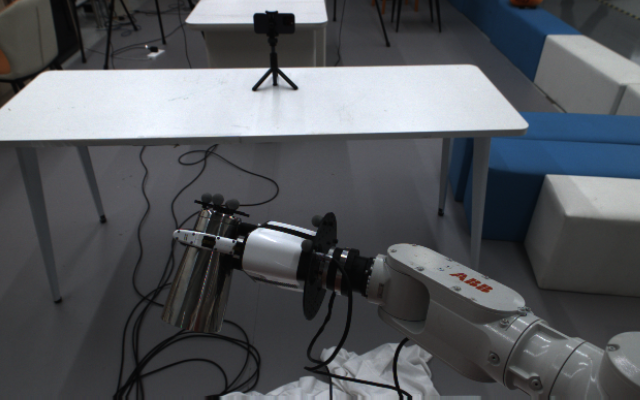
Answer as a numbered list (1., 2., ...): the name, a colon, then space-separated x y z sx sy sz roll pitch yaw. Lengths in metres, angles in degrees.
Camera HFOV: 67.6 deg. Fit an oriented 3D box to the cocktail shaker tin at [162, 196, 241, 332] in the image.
1. cocktail shaker tin: -0.172 0.102 0.735 0.093 0.170 0.093 15 -5 1
